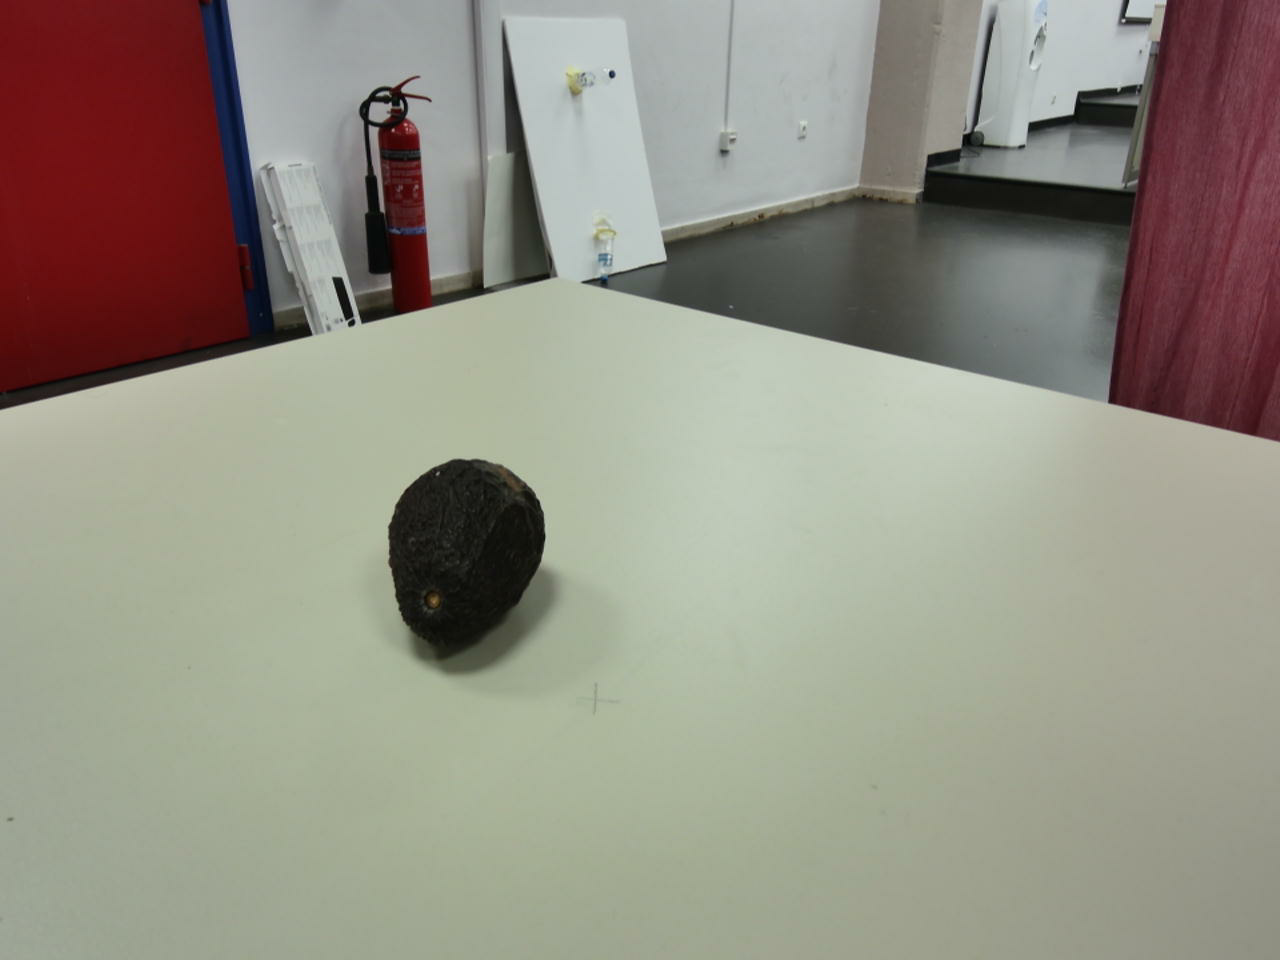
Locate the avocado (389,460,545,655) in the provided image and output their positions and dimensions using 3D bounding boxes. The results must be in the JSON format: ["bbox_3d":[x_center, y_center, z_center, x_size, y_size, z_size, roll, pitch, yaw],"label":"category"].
[{"bbox_3d":[-0.072,0.026,0.402,0.062,0.062,0.092,6,24,14],"label":"avocado"}]
